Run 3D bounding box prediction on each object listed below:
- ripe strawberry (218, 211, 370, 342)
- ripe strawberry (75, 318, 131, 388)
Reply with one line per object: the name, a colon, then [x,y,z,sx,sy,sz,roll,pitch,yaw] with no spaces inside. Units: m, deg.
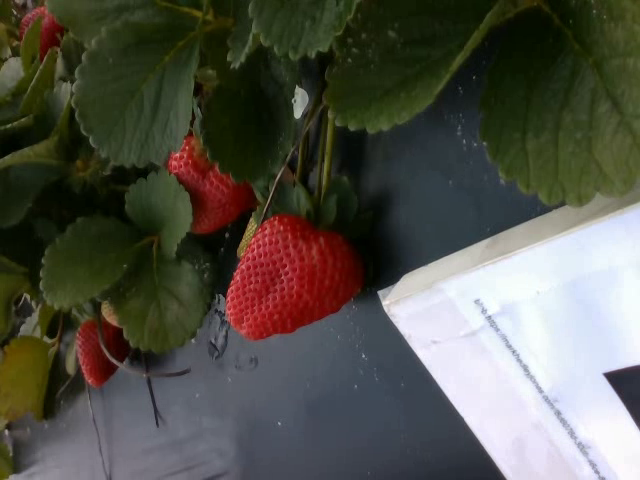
ripe strawberry: [-0.017,0.021,0.260,0.056,0.065,0.057,23,-33,18]
ripe strawberry: [-0.150,0.074,0.399,0.041,0.052,0.044,5,-36,-25]
